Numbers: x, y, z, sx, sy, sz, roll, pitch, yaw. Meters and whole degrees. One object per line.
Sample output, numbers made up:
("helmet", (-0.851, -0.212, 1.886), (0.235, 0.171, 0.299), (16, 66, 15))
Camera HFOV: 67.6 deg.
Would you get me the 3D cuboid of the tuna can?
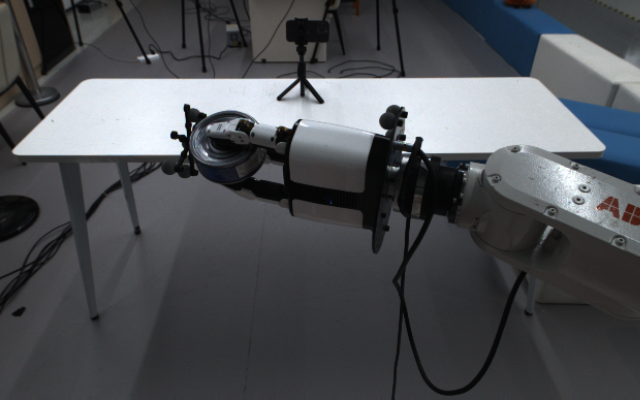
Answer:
("tuna can", (-0.105, -0.063, 0.565), (0.085, 0.034, 0.085), (-2, 58, 3))
